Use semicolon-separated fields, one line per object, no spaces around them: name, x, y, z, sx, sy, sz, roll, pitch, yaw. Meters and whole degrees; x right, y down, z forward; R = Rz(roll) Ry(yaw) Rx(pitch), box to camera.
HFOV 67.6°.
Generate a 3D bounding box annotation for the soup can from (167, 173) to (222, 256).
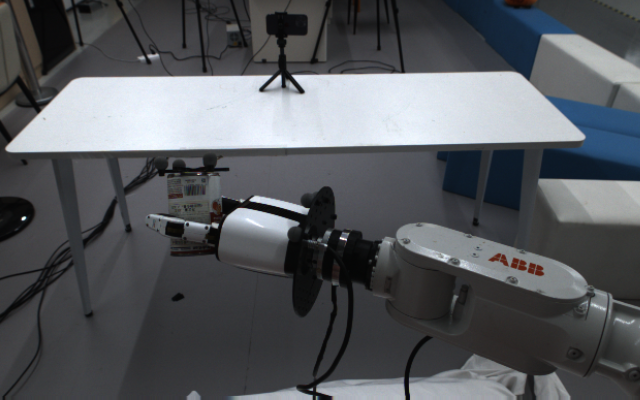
soup can;-0.156;0.020;0.612;0.067;0.101;0.067;-3;-1;0
